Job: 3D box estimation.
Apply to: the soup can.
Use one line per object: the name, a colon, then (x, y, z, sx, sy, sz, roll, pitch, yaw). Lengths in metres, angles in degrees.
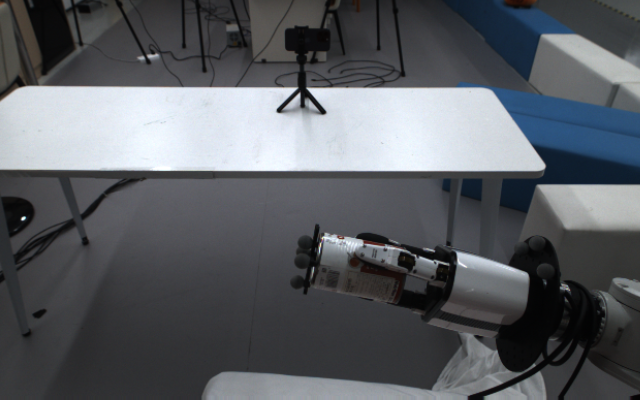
soup can: (0.048, 0.078, 0.568, 0.101, 0.067, 0.067, 10, 35, -2)
